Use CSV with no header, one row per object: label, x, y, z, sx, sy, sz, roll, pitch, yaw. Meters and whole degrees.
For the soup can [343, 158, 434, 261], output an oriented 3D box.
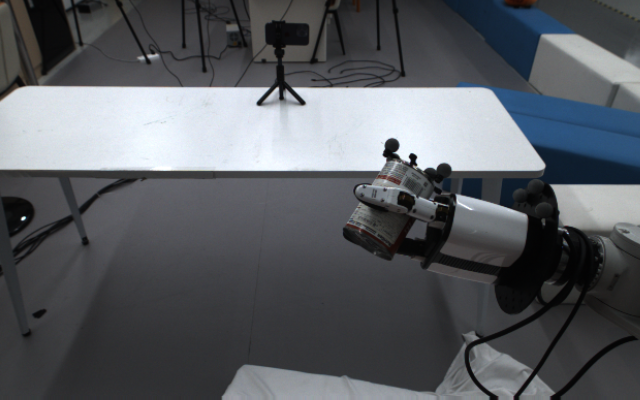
soup can,0.082,0.008,0.573,0.067,0.067,0.101,27,76,31
